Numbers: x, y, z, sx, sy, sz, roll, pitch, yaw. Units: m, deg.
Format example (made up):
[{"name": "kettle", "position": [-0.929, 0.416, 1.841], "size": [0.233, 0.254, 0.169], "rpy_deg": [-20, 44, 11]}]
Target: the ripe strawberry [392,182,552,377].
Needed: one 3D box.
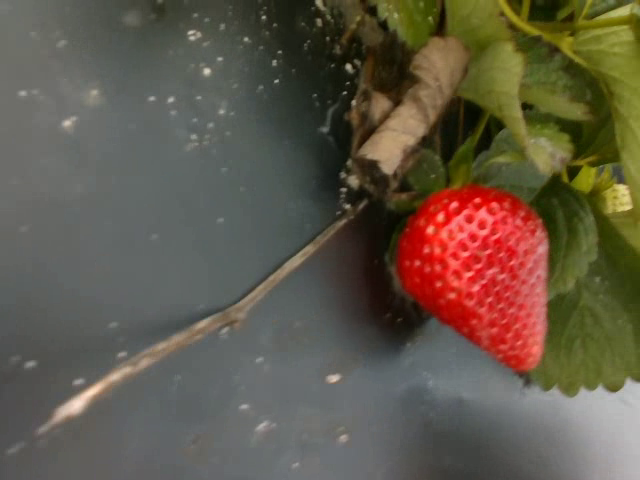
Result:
[{"name": "ripe strawberry", "position": [0.036, 0.007, 0.115], "size": [0.037, 0.046, 0.037], "rpy_deg": [-17, -15, -12]}]
